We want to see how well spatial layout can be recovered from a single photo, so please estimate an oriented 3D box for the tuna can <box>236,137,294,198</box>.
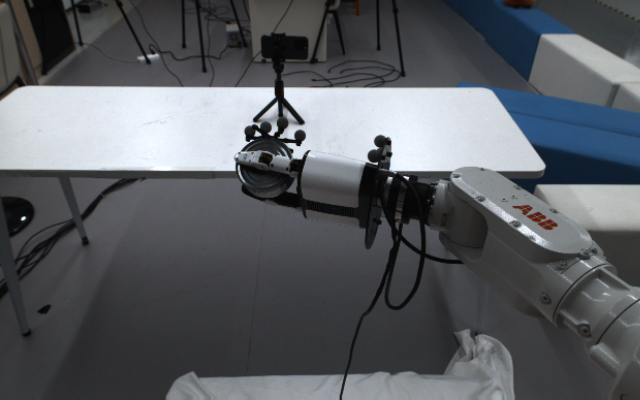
[{"bbox_3d":[-0.079,-0.048,0.717,0.085,0.034,0.085,-3,69,8],"label":"tuna can"}]
